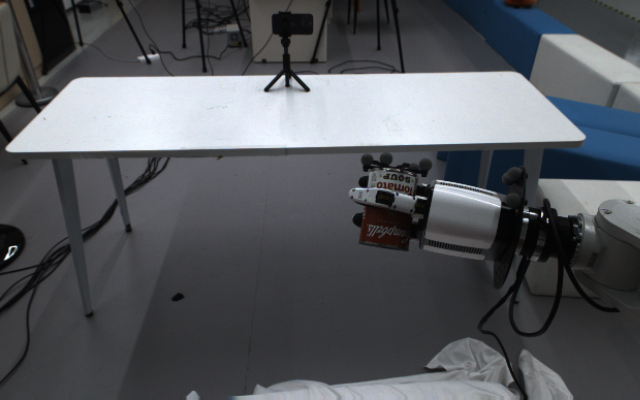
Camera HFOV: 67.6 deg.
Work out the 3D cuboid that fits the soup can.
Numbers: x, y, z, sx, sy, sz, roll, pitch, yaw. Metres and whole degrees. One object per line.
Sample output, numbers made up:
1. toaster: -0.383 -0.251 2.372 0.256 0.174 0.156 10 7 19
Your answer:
1. soup can: 0.093 0.013 0.647 0.067 0.101 0.067 9 -6 1
